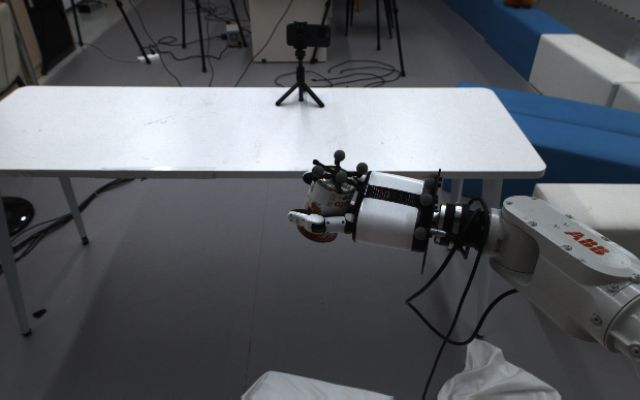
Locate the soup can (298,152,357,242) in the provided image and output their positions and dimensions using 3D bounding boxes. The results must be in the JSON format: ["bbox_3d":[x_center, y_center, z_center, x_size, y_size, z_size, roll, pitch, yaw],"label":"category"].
[{"bbox_3d":[0.011,0.006,0.740,0.067,0.101,0.067,14,35,-10],"label":"soup can"}]
